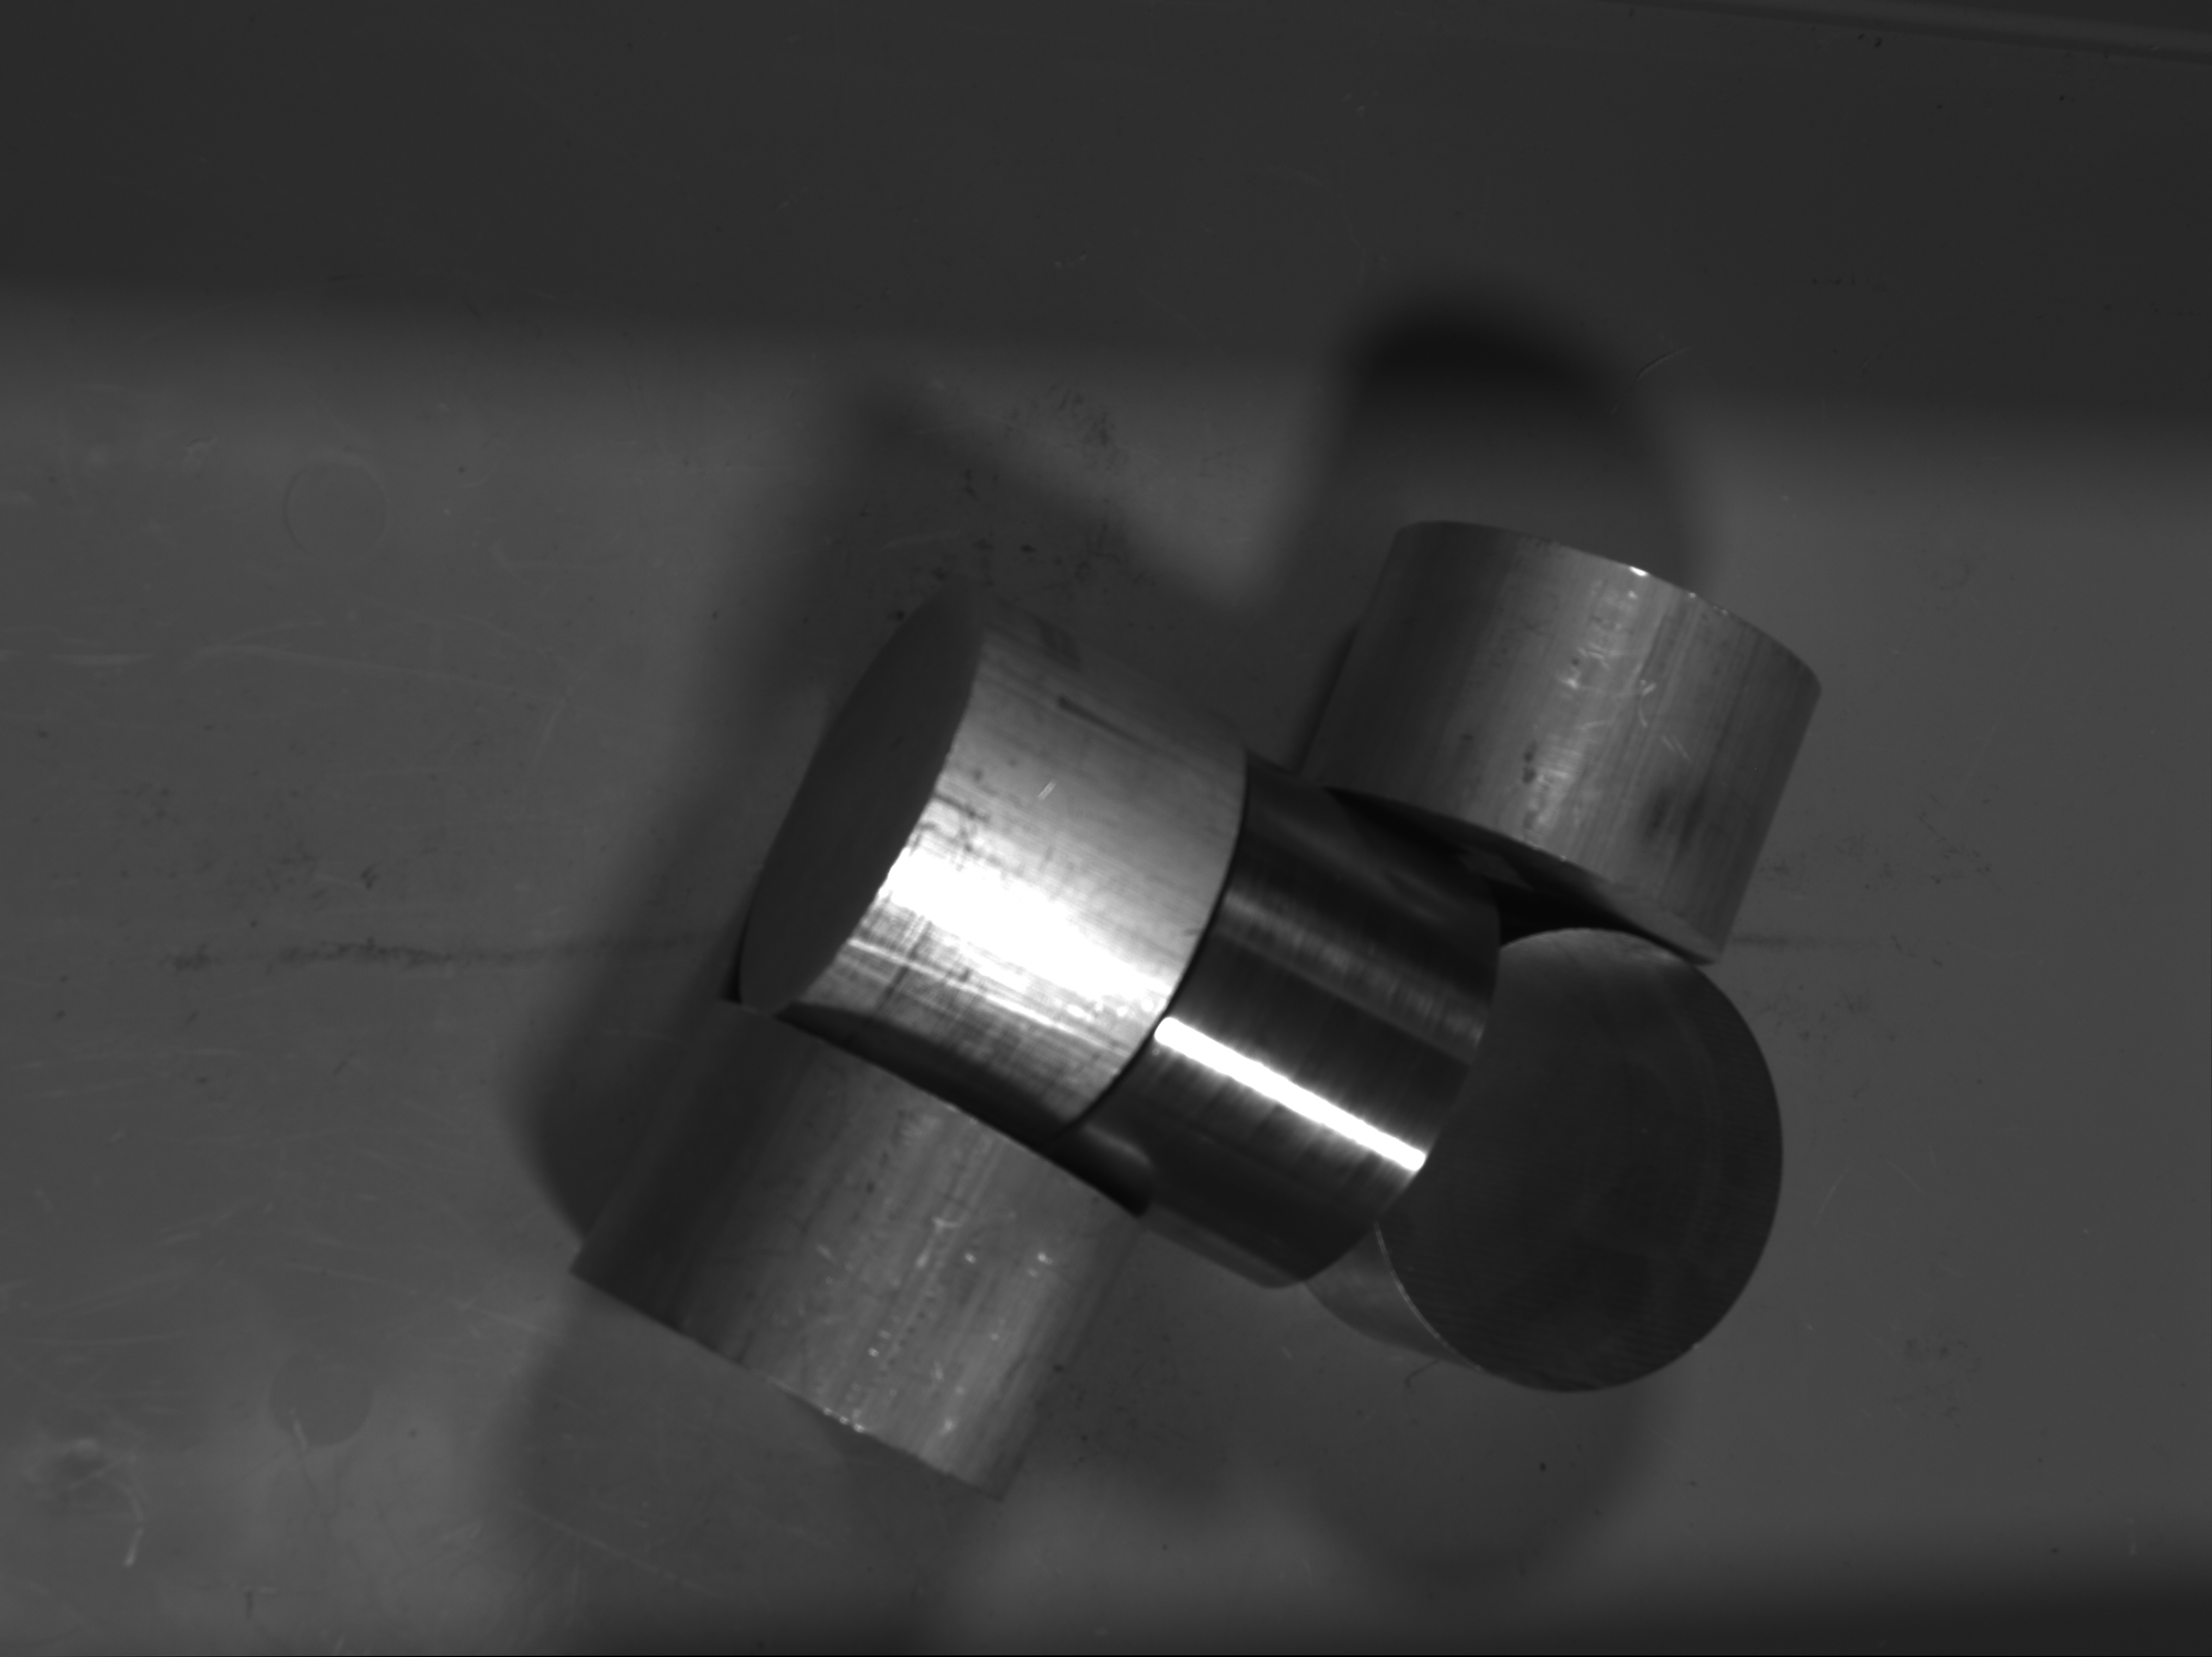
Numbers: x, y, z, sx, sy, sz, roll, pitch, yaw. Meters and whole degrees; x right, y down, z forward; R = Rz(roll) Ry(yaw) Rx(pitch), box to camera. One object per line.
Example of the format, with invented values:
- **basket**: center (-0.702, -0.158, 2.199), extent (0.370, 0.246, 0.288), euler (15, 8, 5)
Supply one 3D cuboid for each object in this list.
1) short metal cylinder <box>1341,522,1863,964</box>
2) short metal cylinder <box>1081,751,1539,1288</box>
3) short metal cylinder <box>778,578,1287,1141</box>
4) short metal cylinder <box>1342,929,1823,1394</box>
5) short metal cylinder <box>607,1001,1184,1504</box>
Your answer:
- **short metal cylinder**: center (0.086, -0.014, 0.644), extent (0.080, 0.080, 0.050), euler (25, 82, -18)
- **short metal cylinder**: center (0.030, 0.031, 0.624), extent (0.050, 0.080, 0.080), euler (28, 81, -18)
- **short metal cylinder**: center (-0.013, 0.005, 0.608), extent (0.050, 0.080, 0.080), euler (27, 81, -18)
- **short metal cylinder**: center (0.081, 0.058, 0.658), extent (0.080, 0.050, 0.080), euler (0, 90, -20)
- **short metal cylinder**: center (-0.034, 0.069, 0.600), extent (0.080, 0.080, 0.050), euler (31, 80, -17)
